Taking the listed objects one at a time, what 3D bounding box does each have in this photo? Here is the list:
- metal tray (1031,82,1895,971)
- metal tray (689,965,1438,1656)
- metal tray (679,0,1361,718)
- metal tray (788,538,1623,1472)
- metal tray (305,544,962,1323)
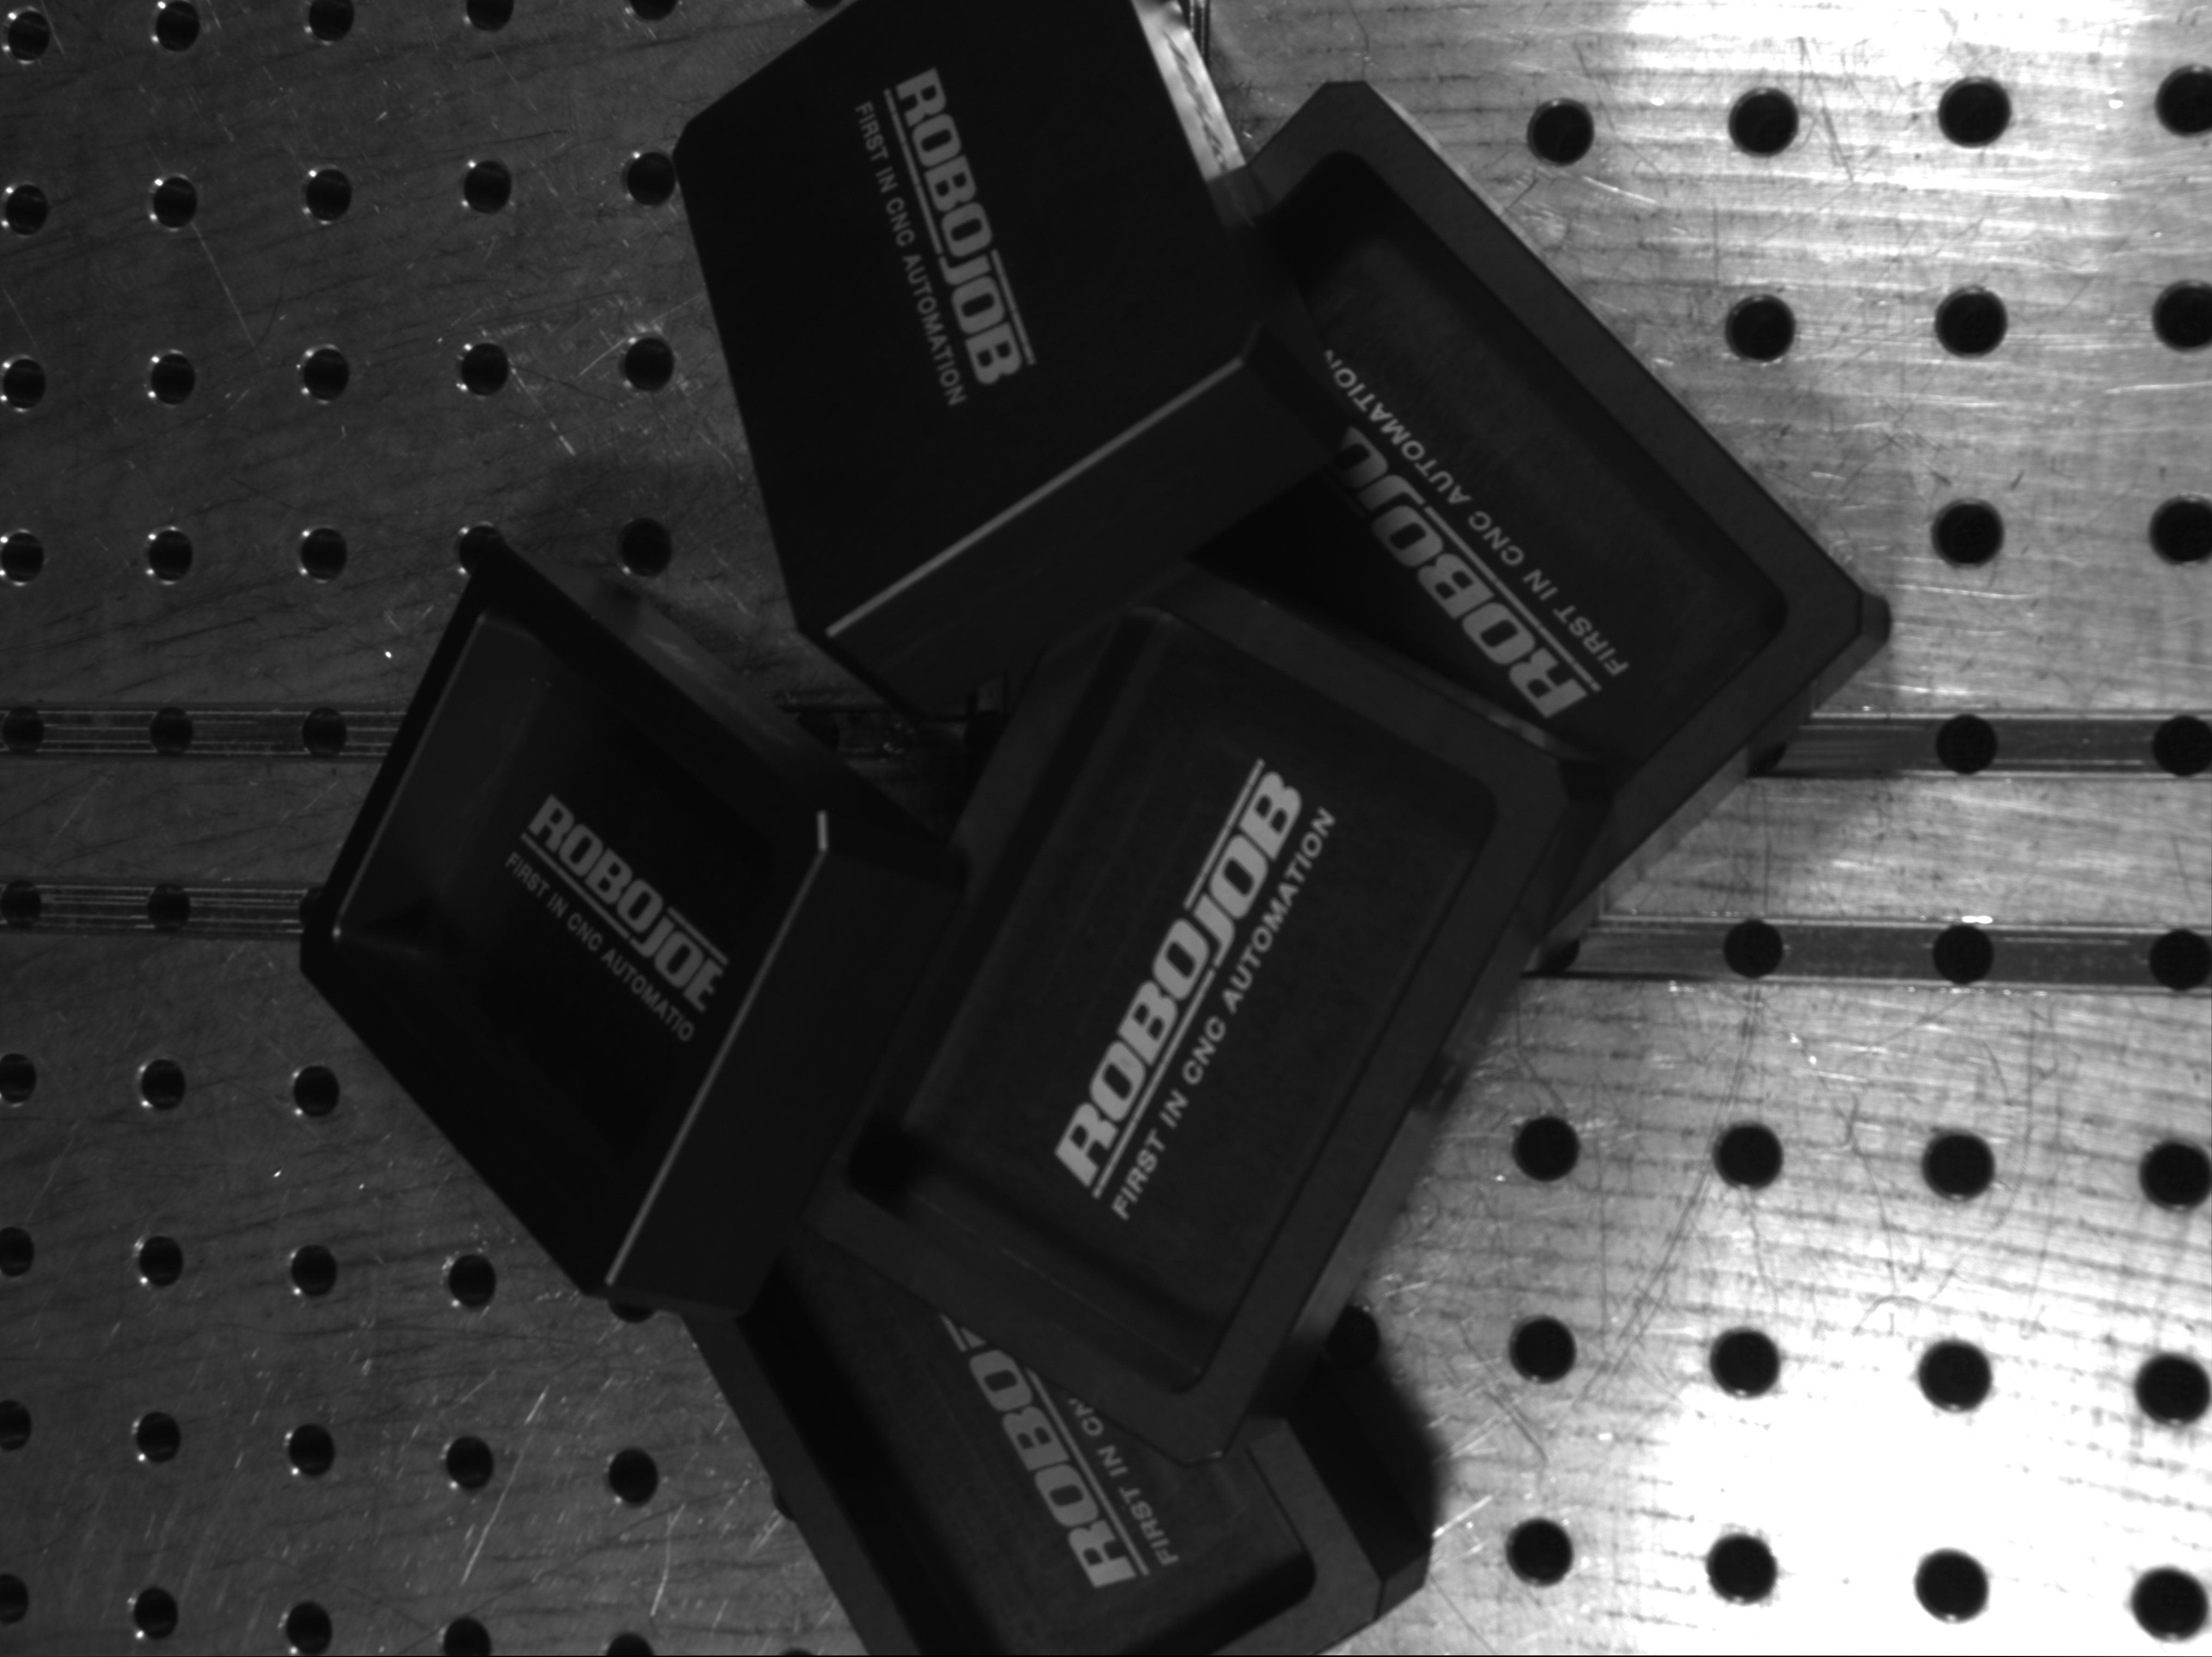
[{"bbox_3d":[0.058,-0.050,0.623,0.090,0.030,0.130,-45,76,14],"label":"metal tray"},{"bbox_3d":[-0.013,0.100,0.648,0.090,0.030,0.130,-34,79,16],"label":"metal tray"},{"bbox_3d":[-0.018,-0.093,0.619,0.090,0.030,0.130,-32,50,17],"label":"metal tray"},{"bbox_3d":[0.015,0.028,0.607,0.090,0.030,0.130,30,100,17],"label":"metal tray"},{"bbox_3d":[-0.087,0.016,0.642,0.130,0.030,0.090,37,103,47],"label":"metal tray"}]
